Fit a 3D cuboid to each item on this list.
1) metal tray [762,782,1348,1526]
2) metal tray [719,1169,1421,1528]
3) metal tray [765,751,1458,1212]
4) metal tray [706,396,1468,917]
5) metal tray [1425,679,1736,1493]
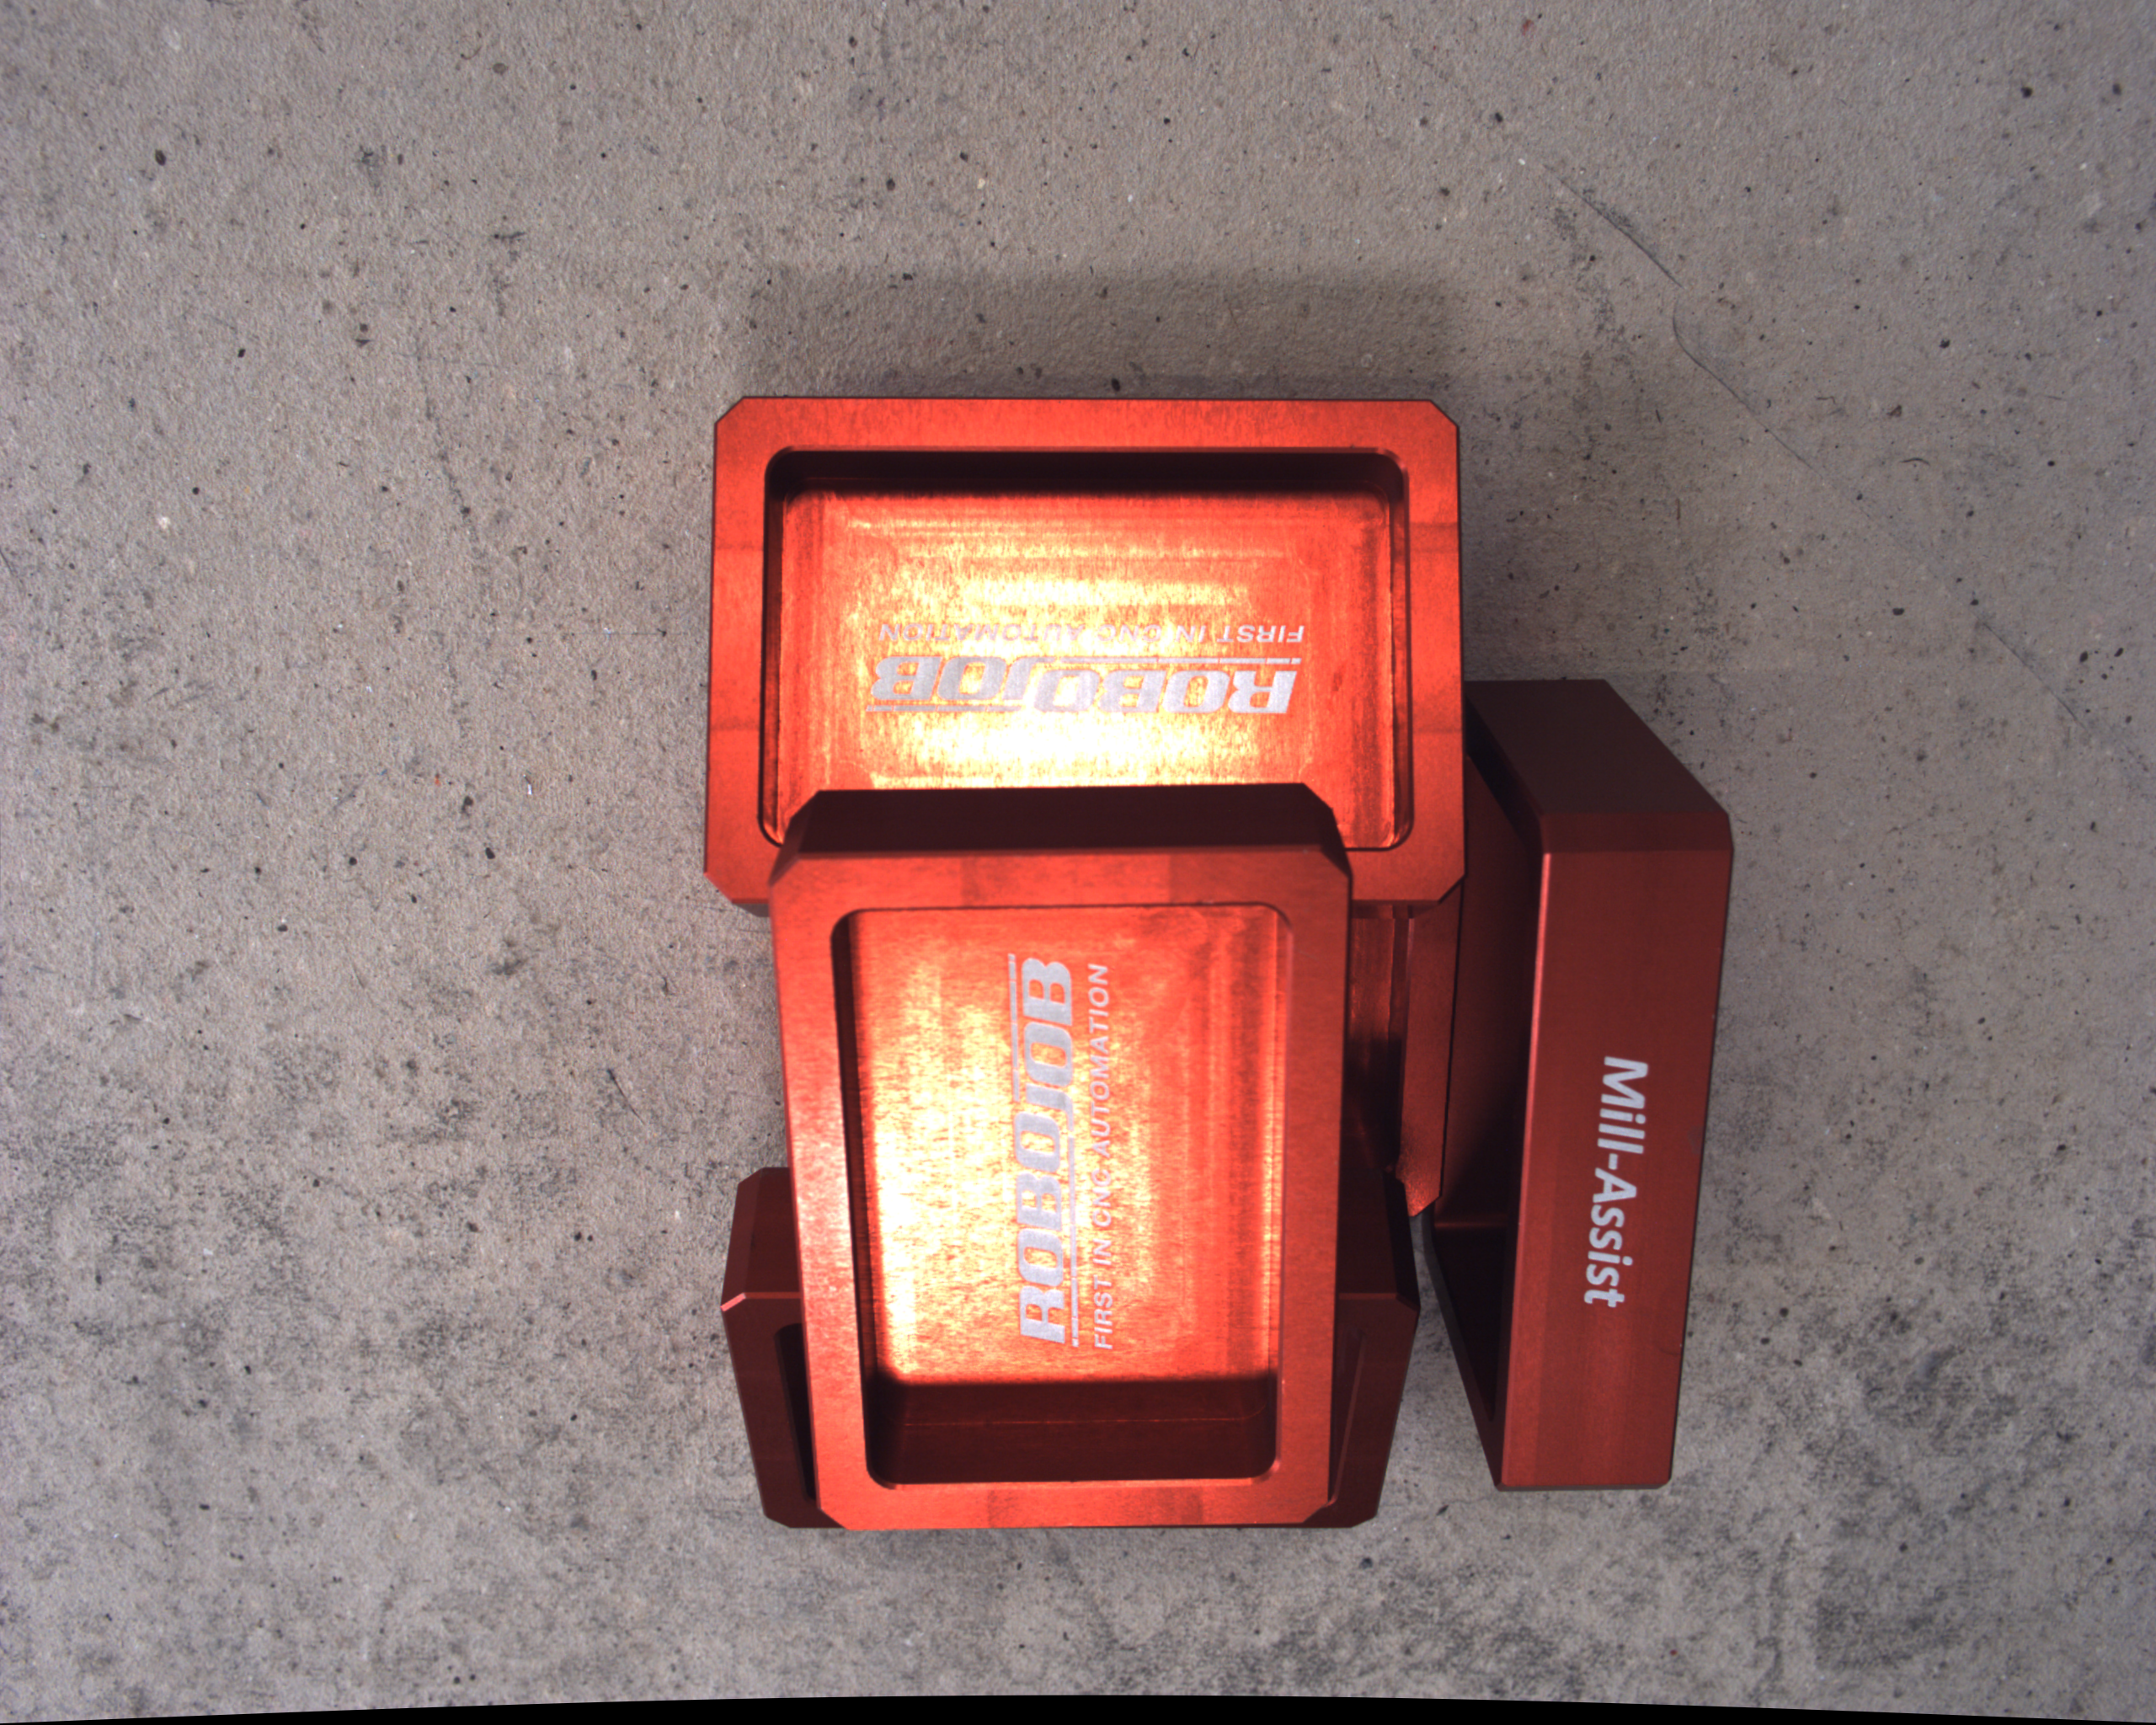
[{"bbox_3d":[-0.002,0.052,0.358,0.091,0.030,0.129,-1,113,0],"label":"metal tray"},{"bbox_3d":[-0.001,0.101,0.427,0.131,0.030,0.089,0,135,0],"label":"metal tray"},{"bbox_3d":[0.007,0.024,0.415,0.131,0.030,0.089,-1,112,0],"label":"metal tray"},{"bbox_3d":[0.001,-0.036,0.376,0.131,0.030,0.090,0,83,-1],"label":"metal tray"},{"bbox_3d":[0.090,0.039,0.391,0.030,0.090,0.129,-1,111,0],"label":"metal tray"}]
